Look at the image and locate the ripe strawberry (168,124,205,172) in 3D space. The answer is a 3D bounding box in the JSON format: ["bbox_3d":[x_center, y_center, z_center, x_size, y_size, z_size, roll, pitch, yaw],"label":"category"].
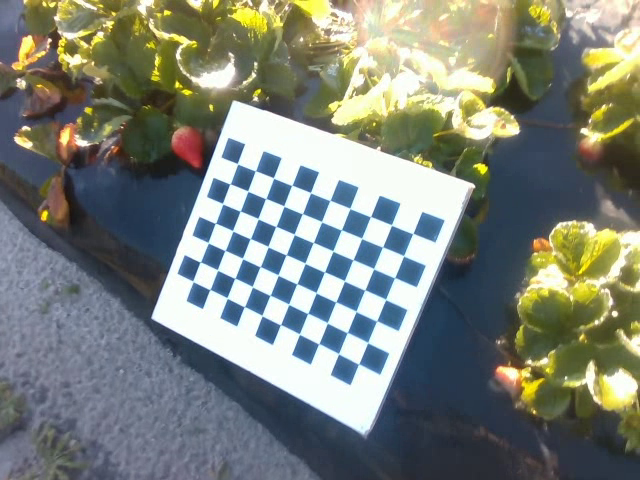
[{"bbox_3d":[-0.174,-0.117,0.786,0.040,0.065,0.040,-28,-13,13],"label":"ripe strawberry"}]
